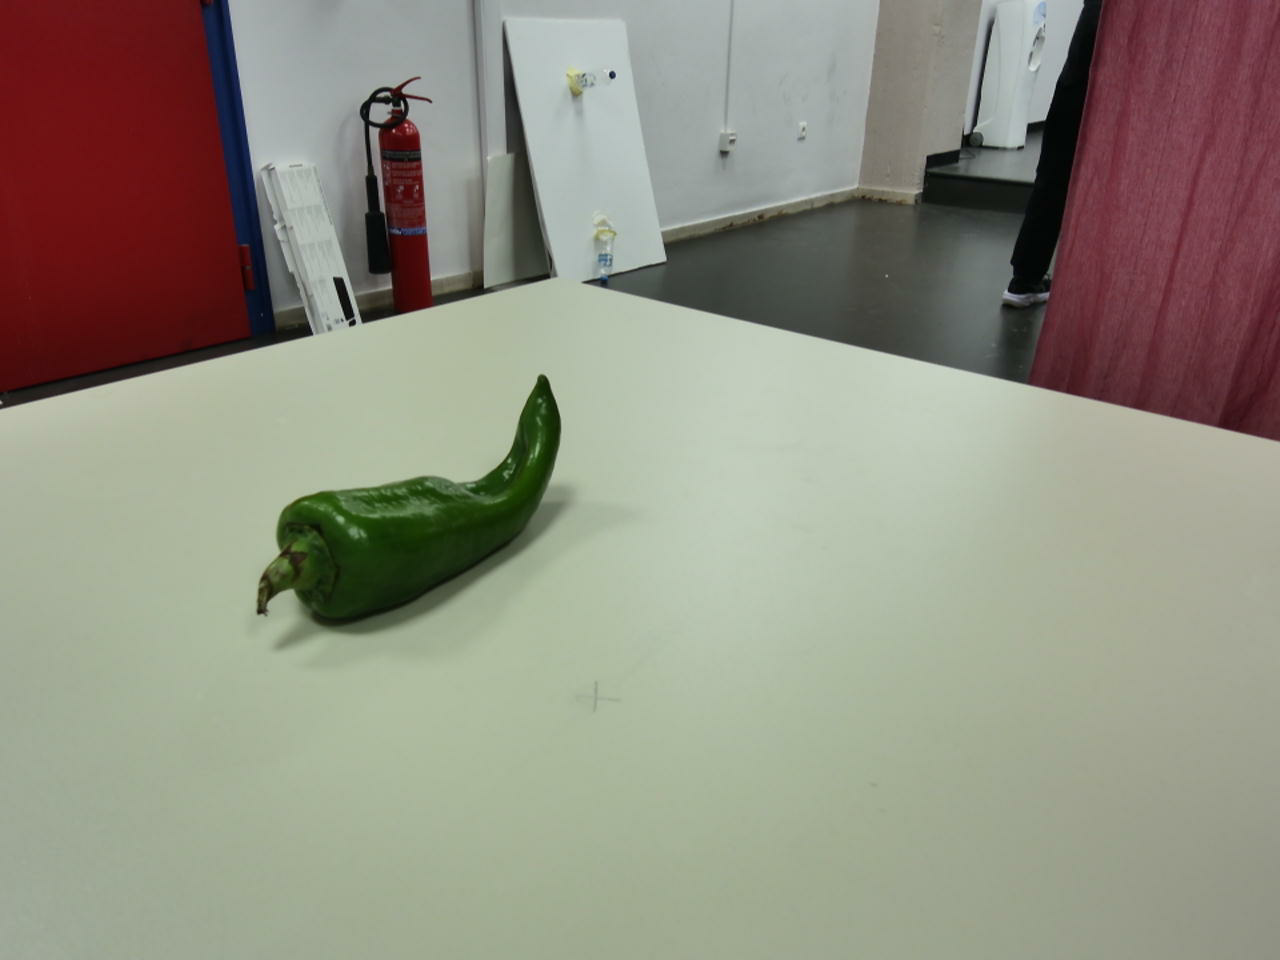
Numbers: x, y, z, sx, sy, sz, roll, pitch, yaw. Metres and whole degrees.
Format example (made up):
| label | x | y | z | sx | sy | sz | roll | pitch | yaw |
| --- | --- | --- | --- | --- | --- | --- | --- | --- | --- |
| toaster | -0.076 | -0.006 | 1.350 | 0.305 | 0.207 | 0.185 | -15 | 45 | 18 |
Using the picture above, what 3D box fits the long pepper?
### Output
| label | x | y | z | sx | sy | sz | roll | pitch | yaw |
| --- | --- | --- | --- | --- | --- | --- | --- | --- | --- |
| long pepper | -0.088 | 0.008 | 0.423 | 0.058 | 0.065 | 0.175 | 17 | 28 | 33 |
